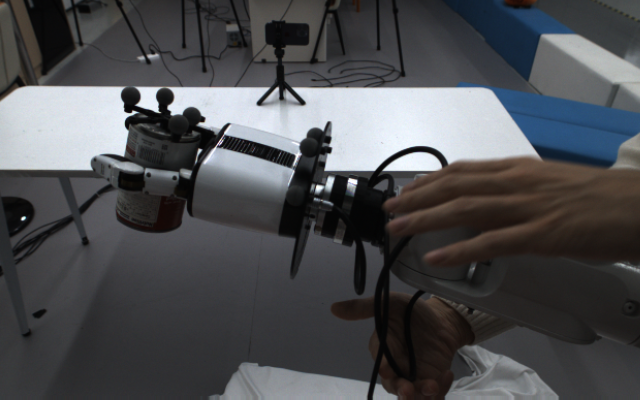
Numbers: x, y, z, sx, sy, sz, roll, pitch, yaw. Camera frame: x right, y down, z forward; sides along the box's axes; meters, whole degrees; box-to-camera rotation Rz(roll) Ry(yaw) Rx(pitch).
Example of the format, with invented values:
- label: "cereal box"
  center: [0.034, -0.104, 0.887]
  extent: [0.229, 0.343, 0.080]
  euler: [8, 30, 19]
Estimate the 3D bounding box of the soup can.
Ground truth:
- label: "soup can"
  center: [-0.160, -0.027, 0.482]
  extent: [0.067, 0.101, 0.067]
  euler: [17, 22, -7]
